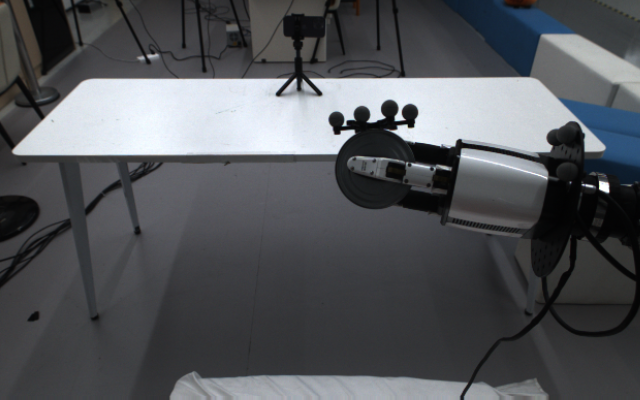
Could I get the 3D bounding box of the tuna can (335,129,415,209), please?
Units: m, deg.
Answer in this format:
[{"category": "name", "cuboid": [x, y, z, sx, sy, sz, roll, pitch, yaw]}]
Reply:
[{"category": "tuna can", "cuboid": [0.063, -0.034, 0.528, 0.085, 0.085, 0.034, 10, 3, 11]}]
